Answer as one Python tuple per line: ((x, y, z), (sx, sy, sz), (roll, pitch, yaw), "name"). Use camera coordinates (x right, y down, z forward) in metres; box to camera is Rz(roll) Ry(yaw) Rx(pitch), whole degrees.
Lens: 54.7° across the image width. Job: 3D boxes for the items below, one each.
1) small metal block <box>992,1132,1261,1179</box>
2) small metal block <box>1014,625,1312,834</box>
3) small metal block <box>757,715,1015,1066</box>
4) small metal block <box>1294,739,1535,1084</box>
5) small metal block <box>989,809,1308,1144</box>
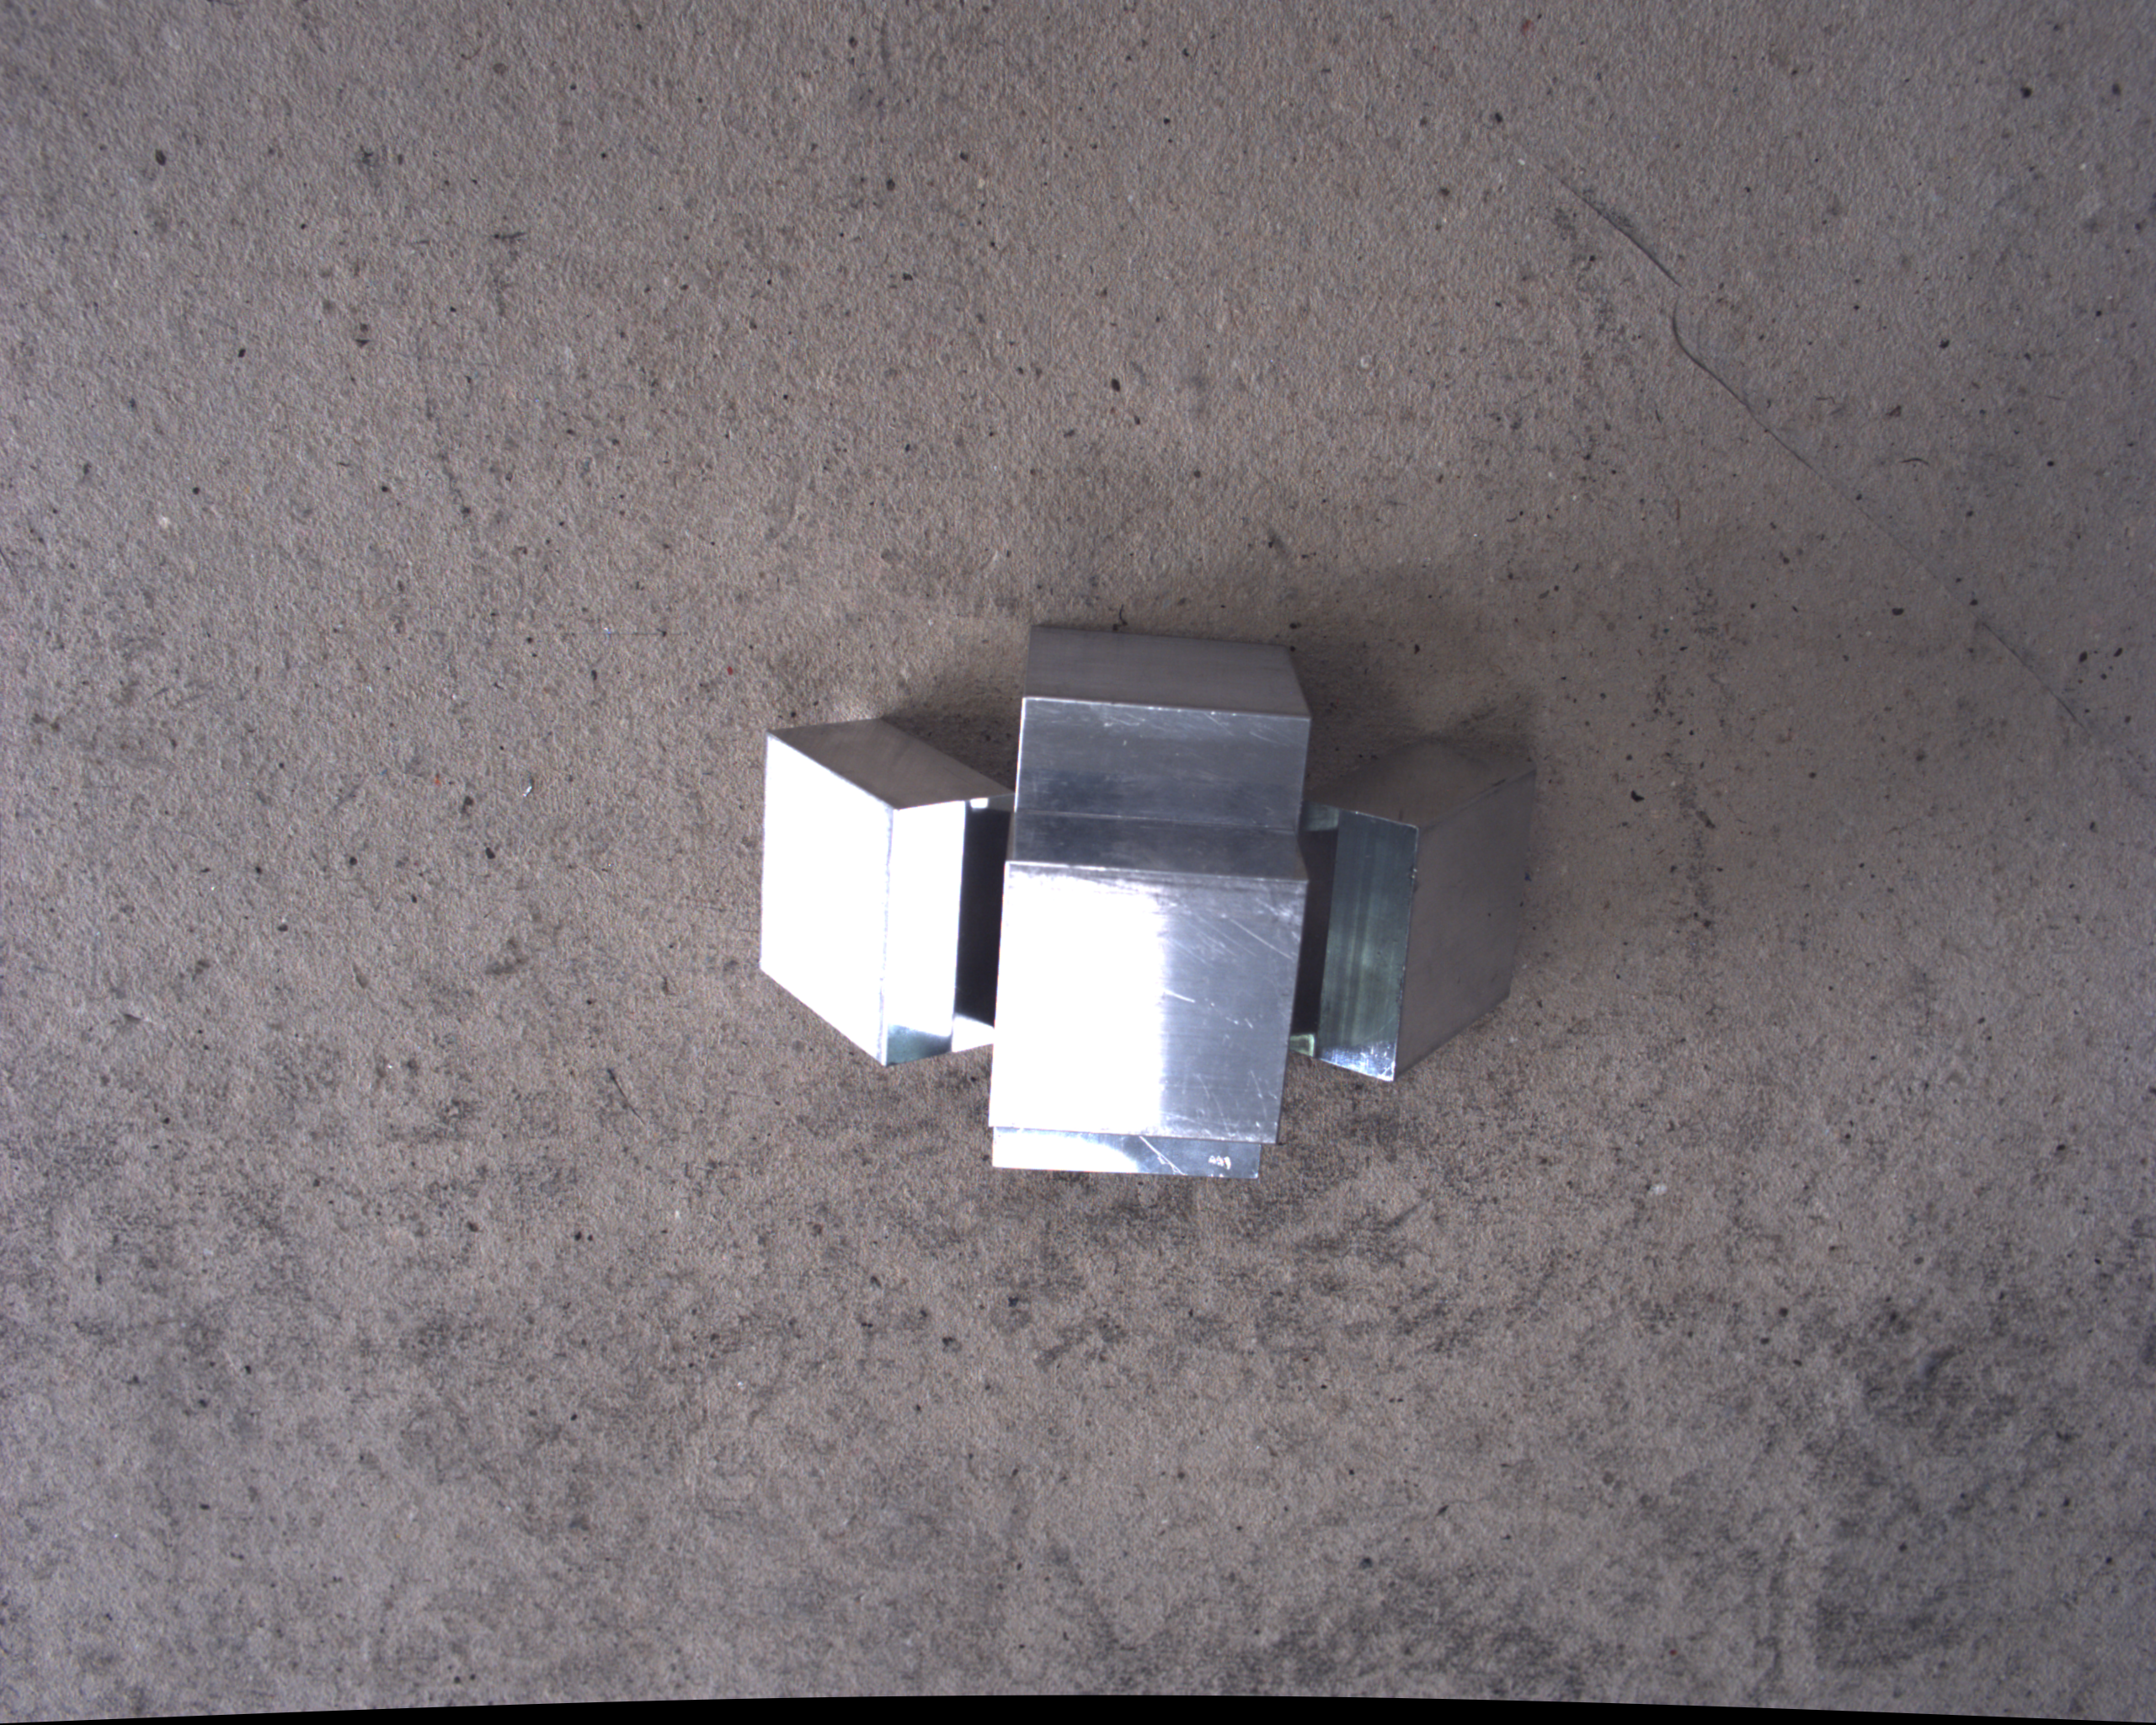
((0.010, 0.038, 0.412), (0.050, 0.050, 0.025), (3, 111, -1), "small metal block")
((0.015, -0.024, 0.389), (0.050, 0.050, 0.025), (4, 111, -2), "small metal block")
((-0.038, 0.004, 0.397), (0.025, 0.050, 0.050), (-10, 115, -34), "small metal block")
((0.063, 0.008, 0.399), (0.025, 0.050, 0.050), (16, 114, 32), "small metal block")
((0.011, 0.020, 0.366), (0.050, 0.025, 0.050), (4, 110, -2), "small metal block")
